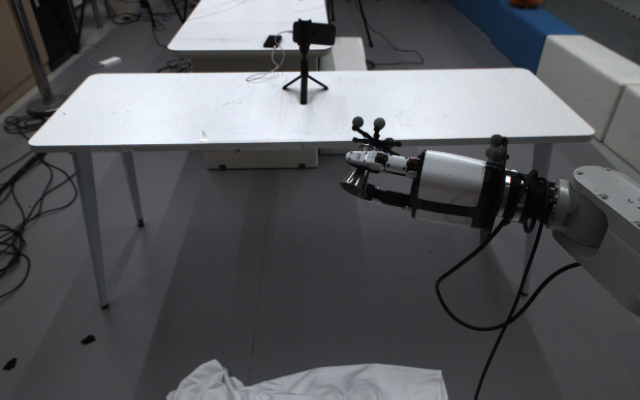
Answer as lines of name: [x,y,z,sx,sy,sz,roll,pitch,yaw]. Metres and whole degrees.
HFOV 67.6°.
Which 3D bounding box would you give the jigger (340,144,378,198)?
jigger: [0.061,-0.047,0.714,0.043,0.043,0.071,21,73,25]
